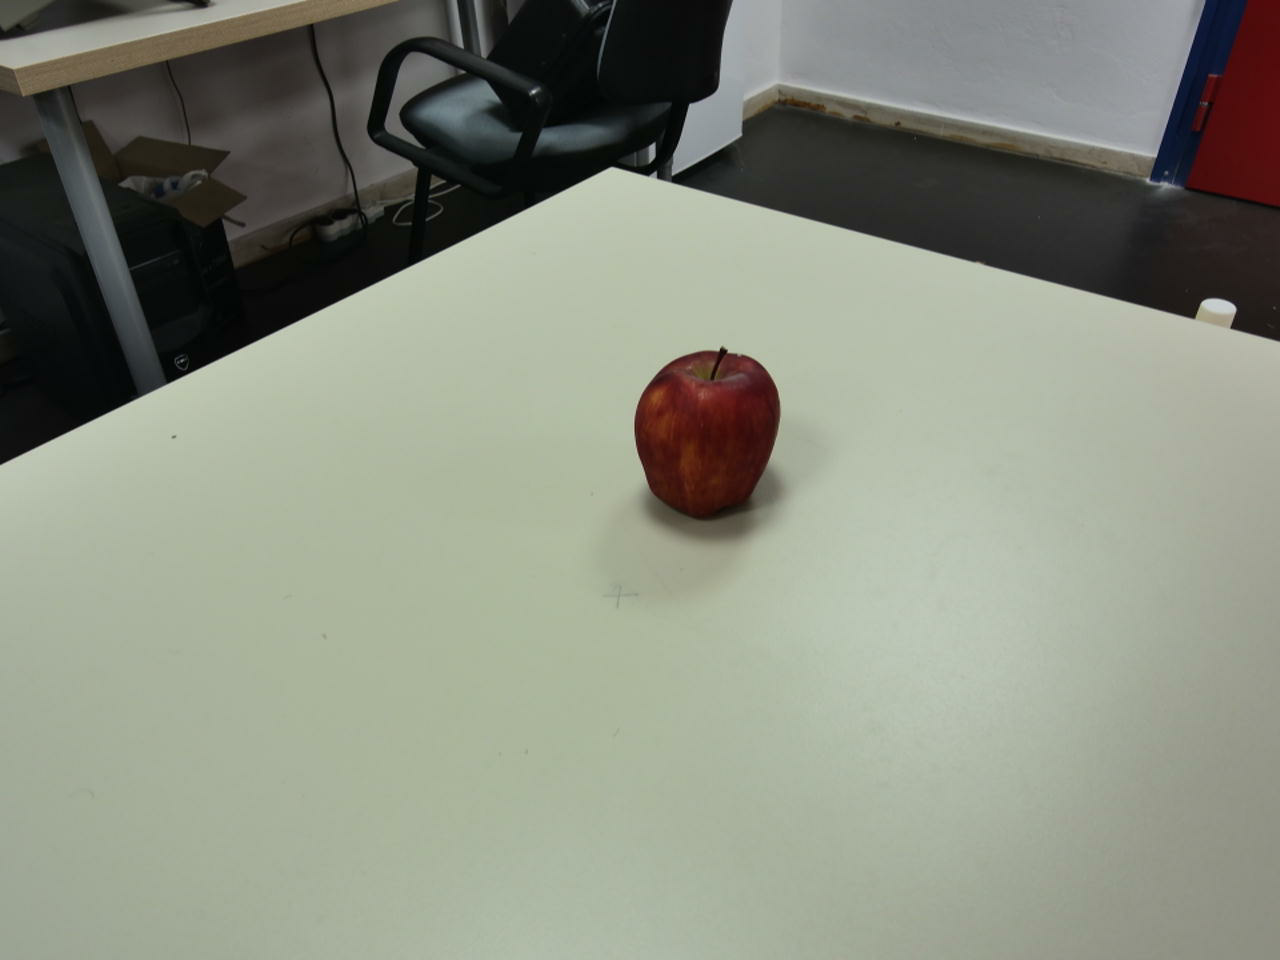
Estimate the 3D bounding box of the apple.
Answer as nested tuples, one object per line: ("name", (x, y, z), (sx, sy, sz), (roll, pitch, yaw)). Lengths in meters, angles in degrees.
("apple", (0.036, -0.031, 0.530), (0.083, 0.090, 0.083), (0, 37, 0))
